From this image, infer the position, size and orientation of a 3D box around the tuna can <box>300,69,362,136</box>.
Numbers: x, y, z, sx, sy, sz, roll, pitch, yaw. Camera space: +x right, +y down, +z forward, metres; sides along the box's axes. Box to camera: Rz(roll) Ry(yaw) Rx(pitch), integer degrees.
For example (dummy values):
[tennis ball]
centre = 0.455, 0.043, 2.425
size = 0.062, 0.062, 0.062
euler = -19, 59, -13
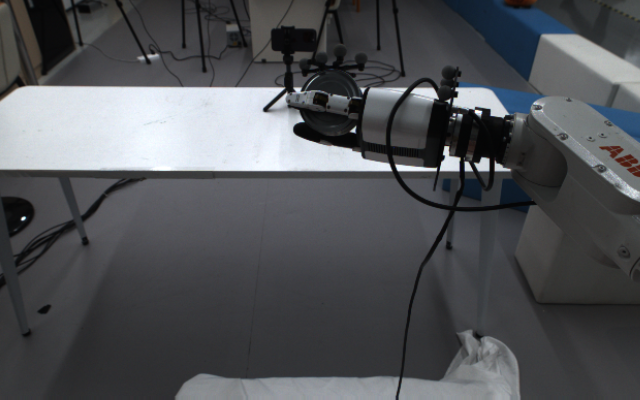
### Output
[tuna can]
centre = 0.016, -0.132, 0.656
size = 0.085, 0.085, 0.034
euler = 16, 0, 19
